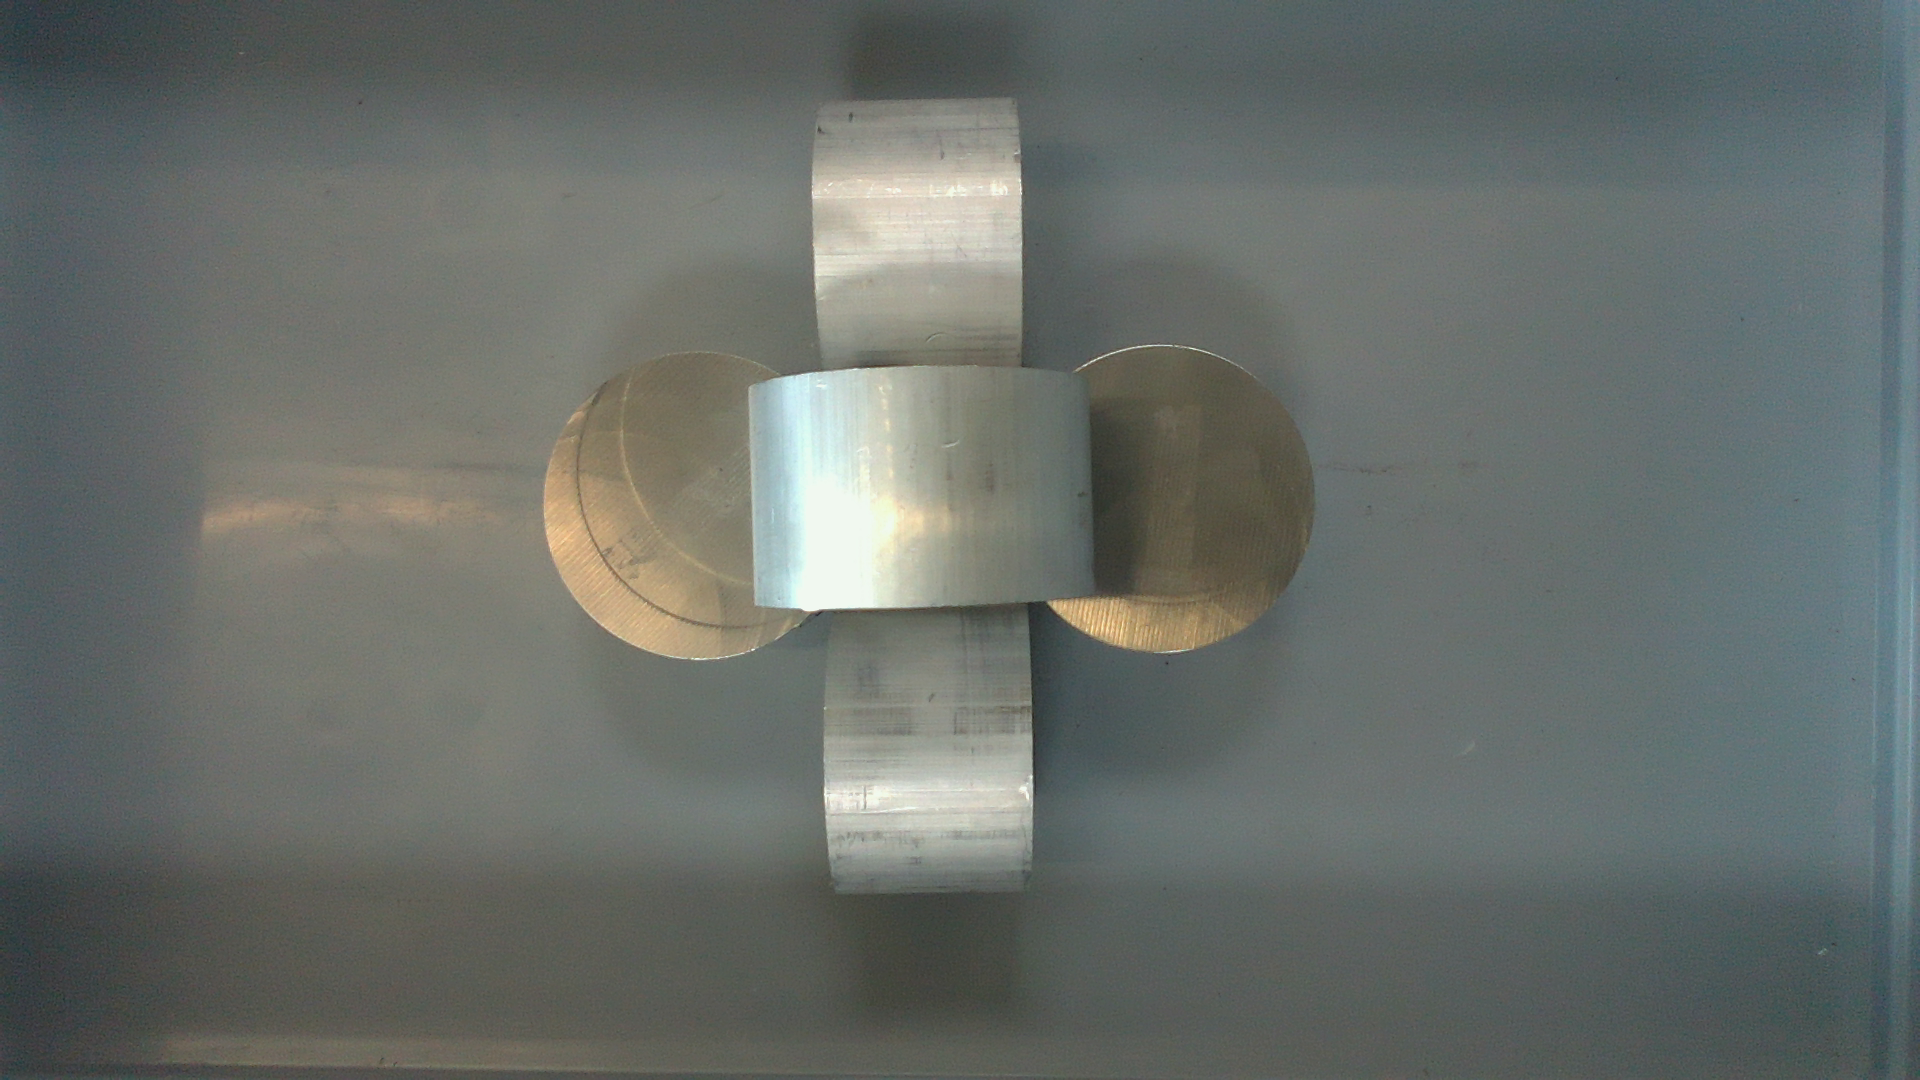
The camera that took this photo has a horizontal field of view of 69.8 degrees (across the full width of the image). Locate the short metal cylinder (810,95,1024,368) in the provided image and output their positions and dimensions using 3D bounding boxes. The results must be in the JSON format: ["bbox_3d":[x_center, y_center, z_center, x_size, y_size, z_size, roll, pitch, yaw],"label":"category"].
[{"bbox_3d":[-0.010,-0.076,0.366,0.050,0.080,0.080,-2,90,0],"label":"short metal cylinder"}]

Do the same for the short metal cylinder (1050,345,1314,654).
[{"bbox_3d":[0.052,-0.011,0.381,0.080,0.050,0.080,0,90,0],"label":"short metal cylinder"}]

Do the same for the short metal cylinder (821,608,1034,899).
[{"bbox_3d":[-0.008,0.054,0.366,0.050,0.080,0.080,-2,90,0],"label":"short metal cylinder"}]

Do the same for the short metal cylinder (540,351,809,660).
[{"bbox_3d":[-0.069,-0.009,0.381,0.080,0.050,0.080,0,90,0],"label":"short metal cylinder"}]

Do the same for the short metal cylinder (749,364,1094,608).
[{"bbox_3d":[-0.009,-0.011,0.322,0.080,0.080,0.050,-1,90,0],"label":"short metal cylinder"}]
